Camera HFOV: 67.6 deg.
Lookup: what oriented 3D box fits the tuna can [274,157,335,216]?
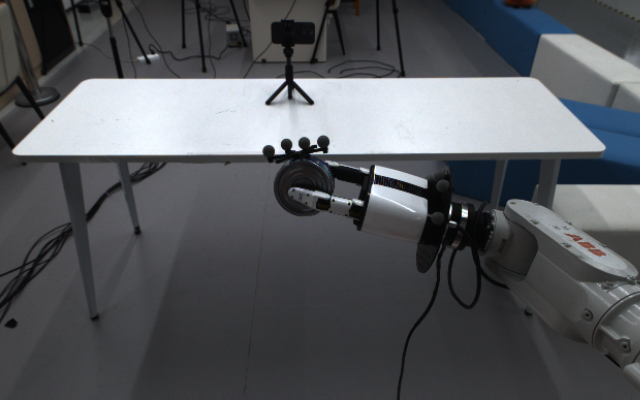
[{"bbox_3d":[-0.019,-0.014,0.693,0.085,0.085,0.034,6,18,5],"label":"tuna can"}]
